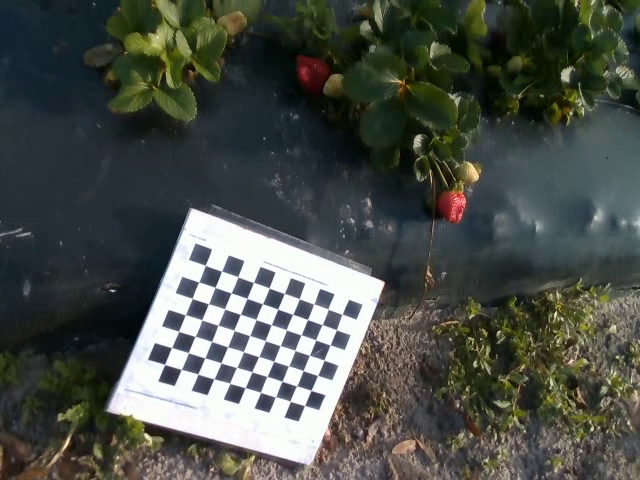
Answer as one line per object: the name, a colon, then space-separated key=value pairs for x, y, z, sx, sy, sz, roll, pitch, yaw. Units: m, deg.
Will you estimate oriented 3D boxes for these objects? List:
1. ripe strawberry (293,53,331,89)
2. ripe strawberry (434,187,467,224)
ripe strawberry: x=-0.016 y=-0.254 z=0.950 sx=0.057 sy=0.058 sz=0.070 roll=26 pitch=-7 yaw=46
ripe strawberry: x=0.198 y=-0.047 z=0.940 sx=0.047 sy=0.050 sz=0.034 roll=0 pitch=0 yaw=-18
